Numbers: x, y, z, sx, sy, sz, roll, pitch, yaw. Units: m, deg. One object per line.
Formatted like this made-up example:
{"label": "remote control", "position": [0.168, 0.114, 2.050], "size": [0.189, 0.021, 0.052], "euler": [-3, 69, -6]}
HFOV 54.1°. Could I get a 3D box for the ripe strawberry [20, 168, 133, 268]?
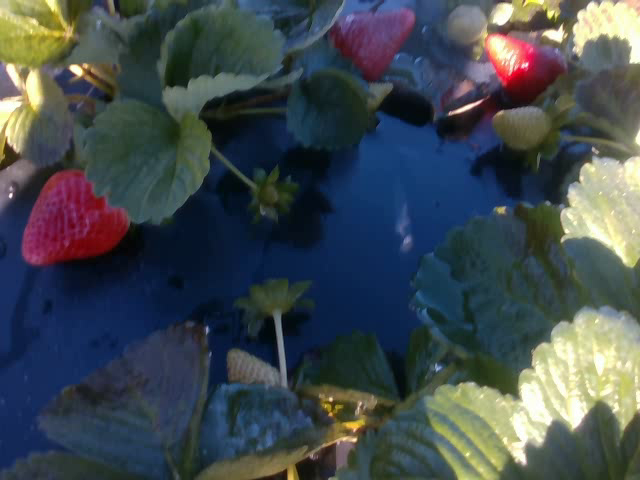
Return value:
{"label": "ripe strawberry", "position": [-0.109, -0.008, 0.270], "size": [0.045, 0.059, 0.042], "euler": [3, -39, 42]}
